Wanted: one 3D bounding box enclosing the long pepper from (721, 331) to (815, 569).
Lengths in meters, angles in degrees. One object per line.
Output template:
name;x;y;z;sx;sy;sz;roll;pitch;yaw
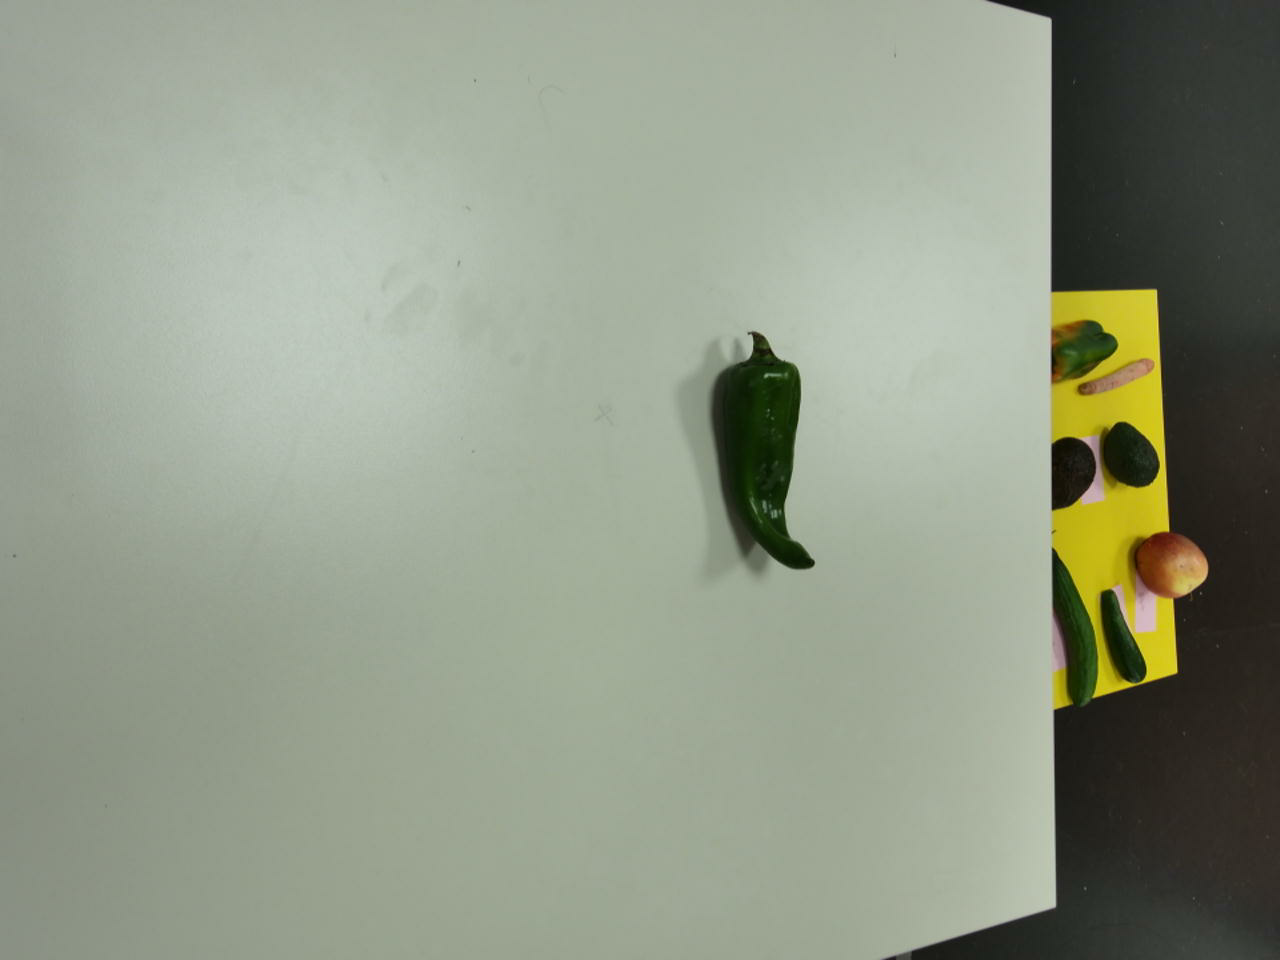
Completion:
long pepper;0.093;-0.022;0.724;0.058;0.065;0.175;-3;92;-28
